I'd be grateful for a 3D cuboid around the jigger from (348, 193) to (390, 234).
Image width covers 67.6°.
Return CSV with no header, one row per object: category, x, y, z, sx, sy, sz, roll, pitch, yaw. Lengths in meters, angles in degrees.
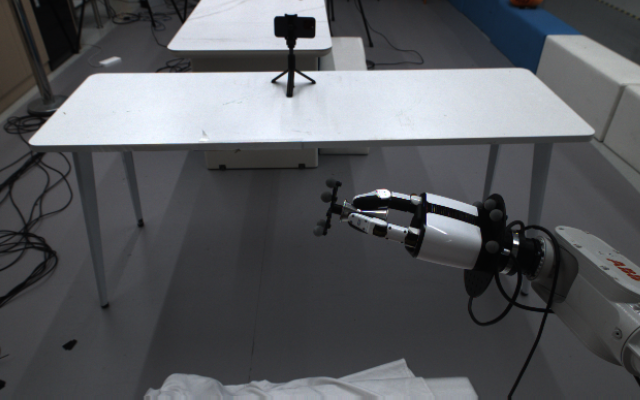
jigger,0.073,0.022,0.738,0.071,0.043,0.043,14,36,4
